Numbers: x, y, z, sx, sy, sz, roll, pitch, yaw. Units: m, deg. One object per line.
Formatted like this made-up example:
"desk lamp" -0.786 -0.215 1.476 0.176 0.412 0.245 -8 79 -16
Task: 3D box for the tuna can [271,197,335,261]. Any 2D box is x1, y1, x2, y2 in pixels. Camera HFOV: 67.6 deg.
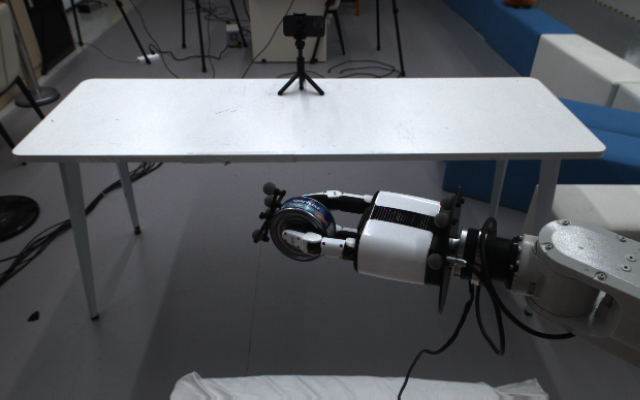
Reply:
"tuna can" -0.021 0.043 0.647 0.085 0.085 0.034 12 30 14
